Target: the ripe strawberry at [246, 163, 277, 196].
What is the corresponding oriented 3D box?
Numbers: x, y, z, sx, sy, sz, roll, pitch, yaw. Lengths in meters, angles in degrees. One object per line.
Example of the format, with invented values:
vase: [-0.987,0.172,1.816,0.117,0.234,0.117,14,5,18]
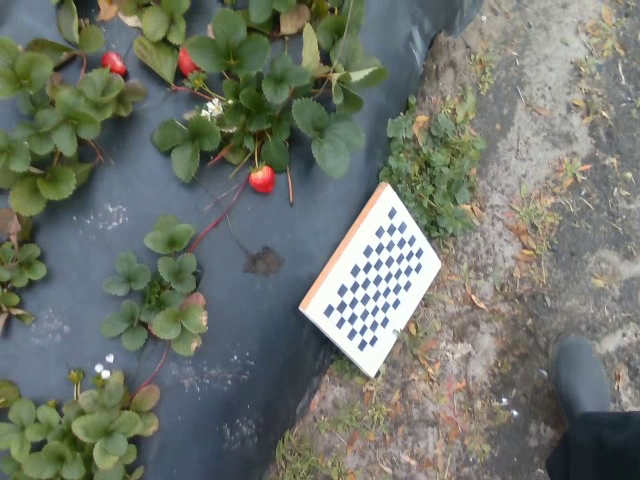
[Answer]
ripe strawberry: [-0.115,-0.118,1.319,0.049,0.065,0.062,10,50,47]
